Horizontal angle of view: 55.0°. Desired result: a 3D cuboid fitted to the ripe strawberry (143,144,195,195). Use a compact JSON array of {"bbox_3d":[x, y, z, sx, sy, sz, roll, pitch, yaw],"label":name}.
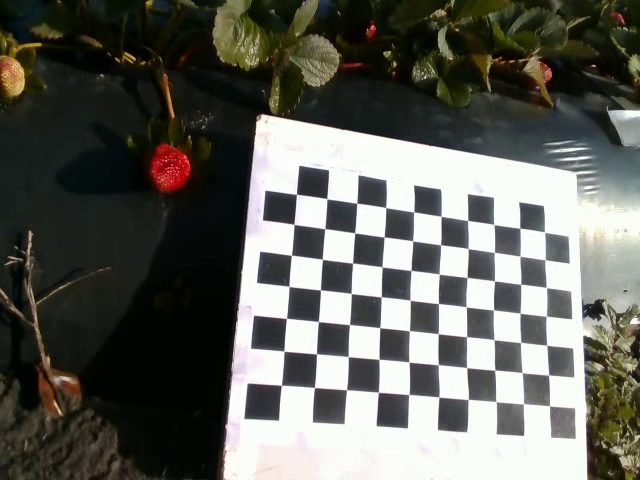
[{"bbox_3d":[-0.041,-0.019,0.159,0.015,0.015,0.023,16,21,-13],"label":"ripe strawberry"}]
